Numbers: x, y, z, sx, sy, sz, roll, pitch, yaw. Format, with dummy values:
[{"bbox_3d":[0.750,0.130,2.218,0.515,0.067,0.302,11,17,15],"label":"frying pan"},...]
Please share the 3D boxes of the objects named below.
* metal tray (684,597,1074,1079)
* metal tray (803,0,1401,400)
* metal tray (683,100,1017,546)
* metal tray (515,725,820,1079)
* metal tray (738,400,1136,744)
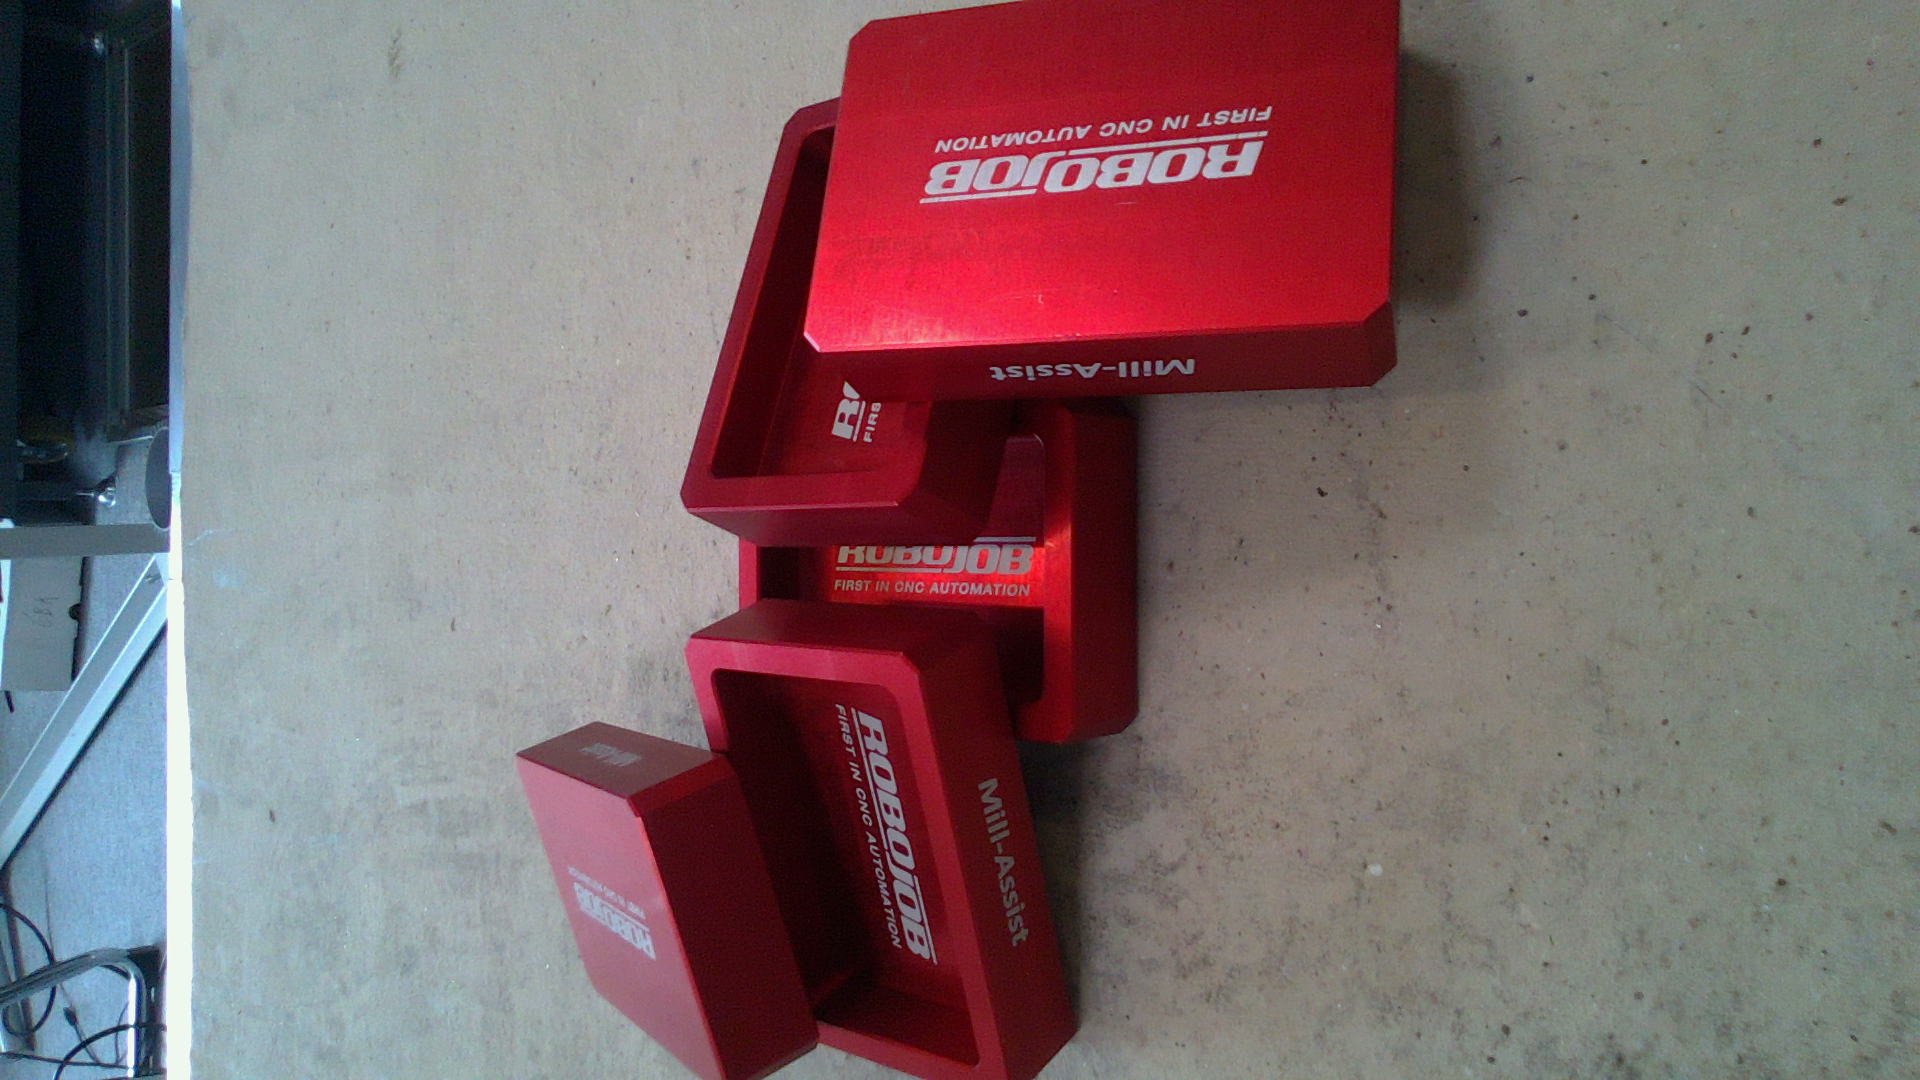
[{"bbox_3d":[-0.023,0.083,0.385,0.090,0.030,0.130,1,110,40],"label":"metal tray"},{"bbox_3d":[0.034,-0.081,0.321,0.130,0.030,0.090,0,71,19],"label":"metal tray"},{"bbox_3d":[-0.022,-0.064,0.384,0.090,0.030,0.130,0,70,40],"label":"metal tray"},{"bbox_3d":[-0.097,0.109,0.435,0.129,0.030,0.090,-4,104,58],"label":"metal tray"},{"bbox_3d":[-0.011,0.007,0.402,0.129,0.030,0.090,0,90,40],"label":"metal tray"}]
